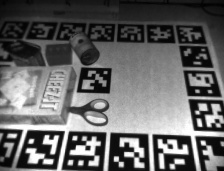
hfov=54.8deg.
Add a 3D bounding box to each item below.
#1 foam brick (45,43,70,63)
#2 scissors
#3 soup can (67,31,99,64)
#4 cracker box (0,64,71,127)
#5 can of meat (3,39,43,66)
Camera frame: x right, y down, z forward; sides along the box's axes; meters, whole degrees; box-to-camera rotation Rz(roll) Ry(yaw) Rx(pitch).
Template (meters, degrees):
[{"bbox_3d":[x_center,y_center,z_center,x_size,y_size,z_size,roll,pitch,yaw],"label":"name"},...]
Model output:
[{"bbox_3d":[-0.183,-0.109,0.721,0.078,0.051,0.052,-8,58,-4],"label":"foam brick"},{"bbox_3d":[-0.119,0.070,0.613,0.203,0.016,0.087,-3,58,-1],"label":"scissors"},{"bbox_3d":[-0.100,-0.131,0.733,0.068,0.068,0.101,-32,57,-17],"label":"soup can"},{"bbox_3d":[-0.234,0.021,0.608,0.213,0.072,0.163,-5,57,2],"label":"cracker box"},{"bbox_3d":[-0.280,-0.094,0.690,0.101,0.084,0.058,13,59,9],"label":"can of meat"}]
